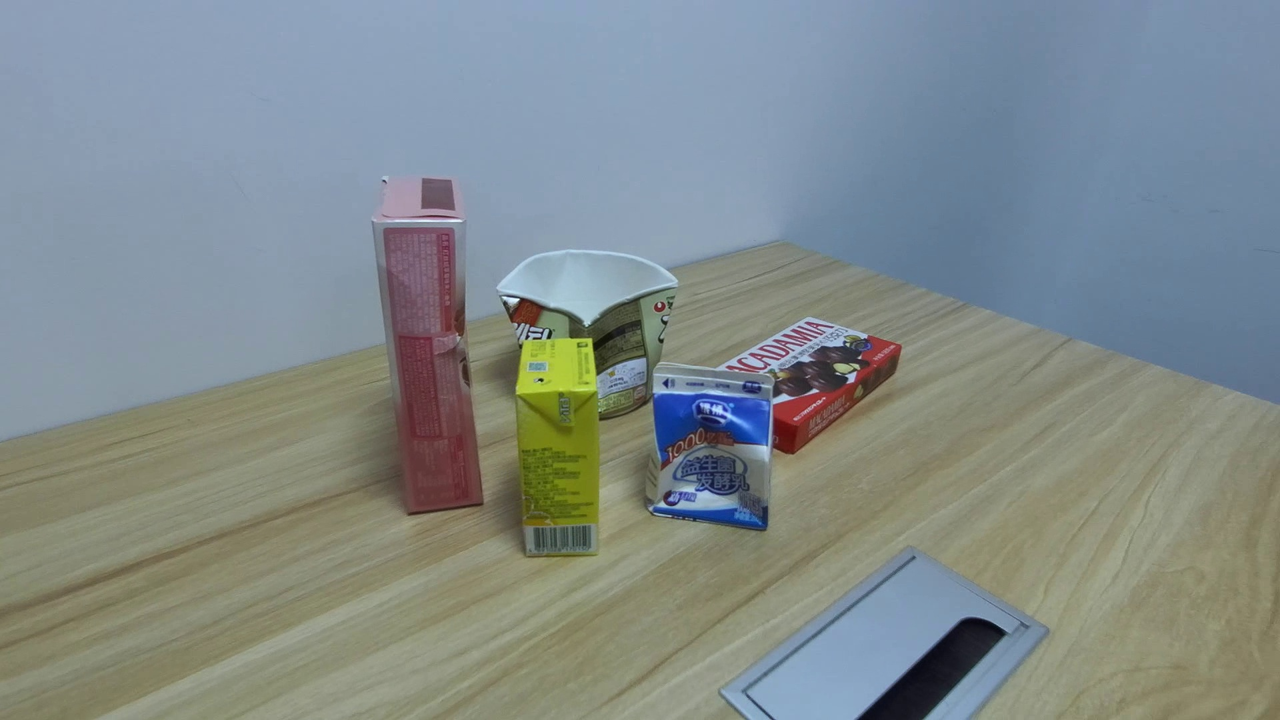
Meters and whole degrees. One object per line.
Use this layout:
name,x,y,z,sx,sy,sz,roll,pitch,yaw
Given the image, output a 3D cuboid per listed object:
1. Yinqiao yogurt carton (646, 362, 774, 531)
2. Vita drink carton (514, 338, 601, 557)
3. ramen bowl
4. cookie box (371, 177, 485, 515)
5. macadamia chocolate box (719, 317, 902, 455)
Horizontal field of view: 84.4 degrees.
Yinqiao yogurt carton,0.046,0.044,0.436,0.077,0.094,0.071,5,32,9
Vita drink carton,-0.046,0.049,0.407,0.043,0.109,0.066,-1,27,-5
ramen bowl,-0.037,-0.026,0.567,0.137,0.098,0.137,3,28,-1
cookie box,-0.127,-0.009,0.431,0.049,0.187,0.105,-5,27,-16
macadamia chocolate box,0.133,0.013,0.580,0.095,0.027,0.178,24,34,36
